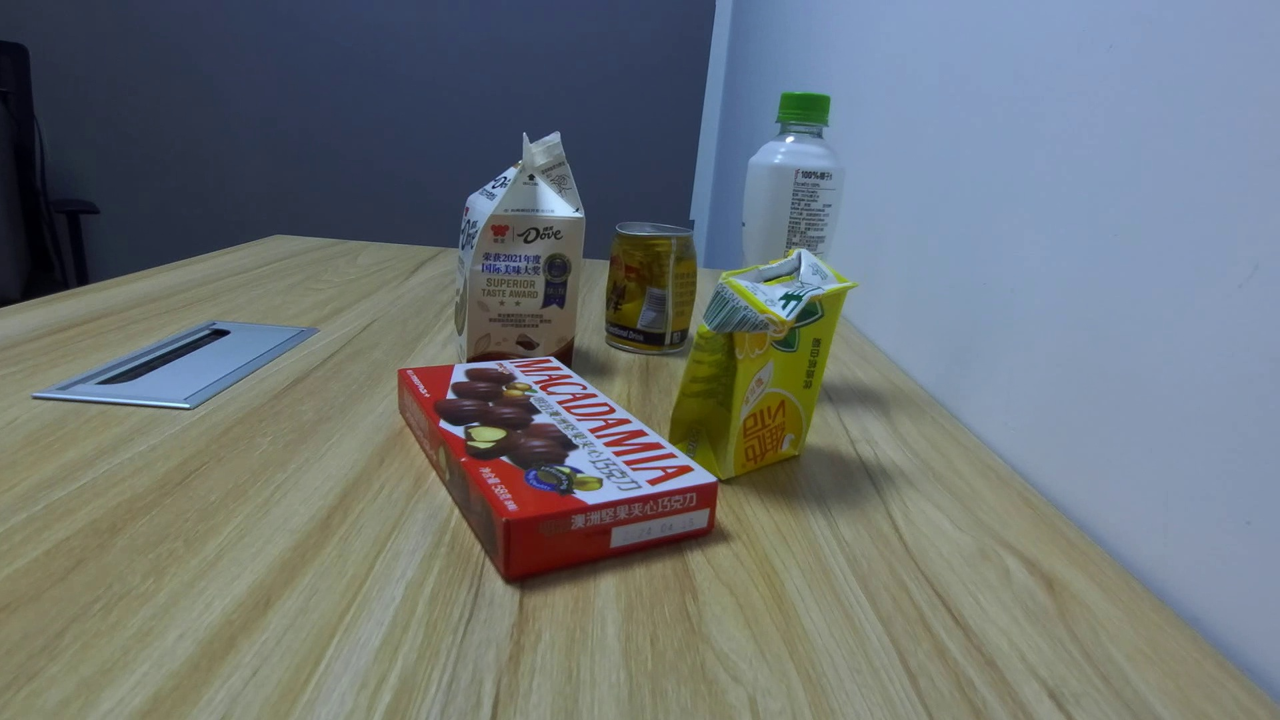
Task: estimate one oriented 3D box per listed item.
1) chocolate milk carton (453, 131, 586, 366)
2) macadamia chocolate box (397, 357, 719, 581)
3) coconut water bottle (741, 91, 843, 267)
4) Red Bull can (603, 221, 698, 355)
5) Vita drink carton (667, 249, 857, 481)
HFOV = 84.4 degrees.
[{"bbox_3d":[-0.081,-0.075,0.478,0.074,0.155,0.076,0,18,-20],"label":"chocolate milk carton"},{"bbox_3d":[-0.051,0.039,0.344,0.096,0.027,0.177,-5,21,-30],"label":"macadamia chocolate box"},{"bbox_3d":[0.094,-0.070,0.454,0.063,0.188,0.063,5,16,-1],"label":"coconut water bottle"},{"bbox_3d":[0.007,-0.054,0.541,0.072,0.092,0.072,5,15,-1],"label":"Red Bull can"},{"bbox_3d":[0.062,0.005,0.349,0.087,0.108,0.042,-13,38,-37],"label":"Vita drink carton"}]
